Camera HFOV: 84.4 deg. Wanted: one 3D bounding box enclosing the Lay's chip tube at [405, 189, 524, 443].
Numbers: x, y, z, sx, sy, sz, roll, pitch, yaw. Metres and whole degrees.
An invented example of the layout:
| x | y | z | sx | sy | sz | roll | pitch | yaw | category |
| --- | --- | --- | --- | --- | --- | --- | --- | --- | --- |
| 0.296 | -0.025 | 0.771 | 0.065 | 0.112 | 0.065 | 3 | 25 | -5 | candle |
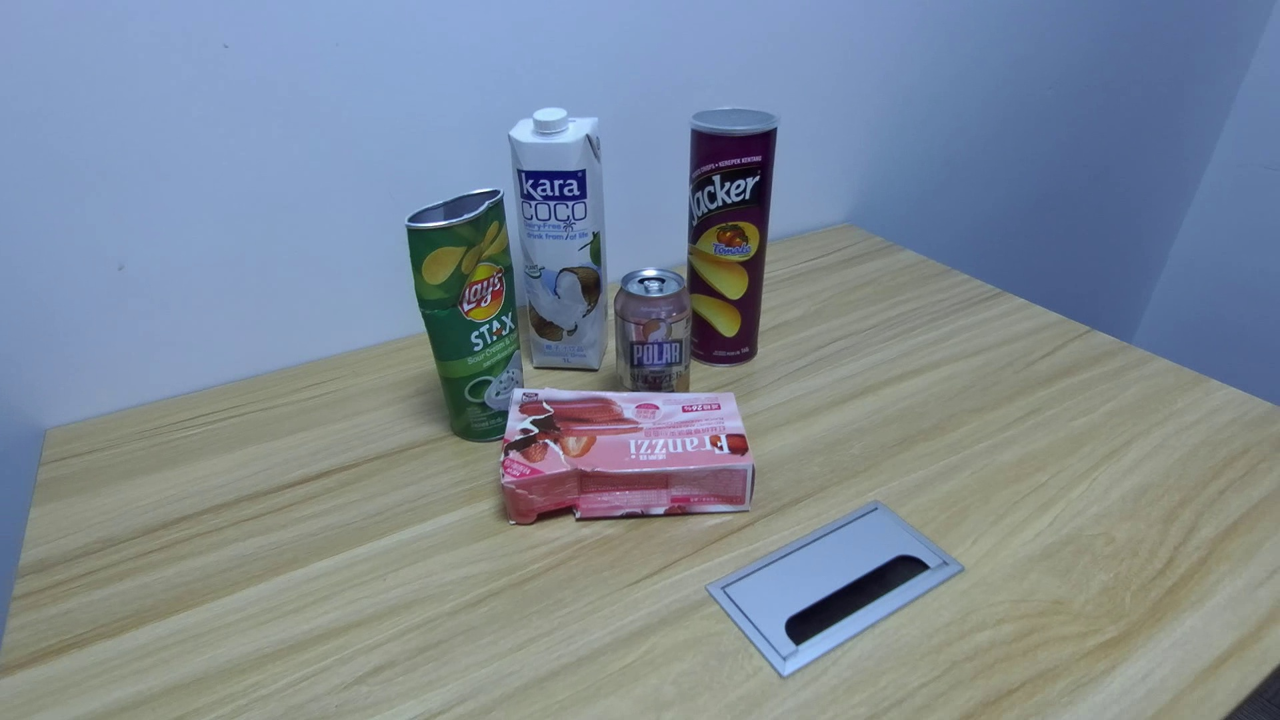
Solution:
| x | y | z | sx | sy | sz | roll | pitch | yaw | category |
| --- | --- | --- | --- | --- | --- | --- | --- | --- | --- |
| -0.138 | -0.032 | 0.587 | 0.069 | 0.200 | 0.074 | -4 | 33 | -4 | Lay's chip tube |

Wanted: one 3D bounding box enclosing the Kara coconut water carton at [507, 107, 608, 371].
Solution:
| x | y | z | sx | sy | sz | roll | pitch | yaw | category |
| --- | --- | --- | --- | --- | --- | --- | --- | --- | --- |
| -0.072 | -0.109 | 0.663 | 0.077 | 0.245 | 0.075 | 2 | 31 | 6 | Kara coconut water carton |

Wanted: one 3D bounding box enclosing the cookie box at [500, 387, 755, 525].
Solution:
| x | y | z | sx | sy | sz | roll | pitch | yaw | category |
| --- | --- | --- | --- | --- | --- | --- | --- | --- | --- |
| -0.010 | 0.068 | 0.551 | 0.186 | 0.059 | 0.105 | -2 | 34 | -4 | cookie box |

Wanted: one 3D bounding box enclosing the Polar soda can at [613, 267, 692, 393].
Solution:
| x | y | z | sx | sy | sz | roll | pitch | yaw | category |
| --- | --- | --- | --- | --- | --- | --- | --- | --- | --- |
| 0.012 | -0.015 | 0.622 | 0.067 | 0.126 | 0.067 | -1 | 32 | 1 | Polar soda can |

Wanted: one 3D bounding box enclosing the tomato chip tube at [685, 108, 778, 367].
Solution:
| x | y | z | sx | sy | sz | roll | pitch | yaw | category |
| --- | --- | --- | --- | --- | --- | --- | --- | --- | --- |
| 0.084 | -0.111 | 0.674 | 0.078 | 0.234 | 0.078 | -1 | 32 | 1 | tomato chip tube |
